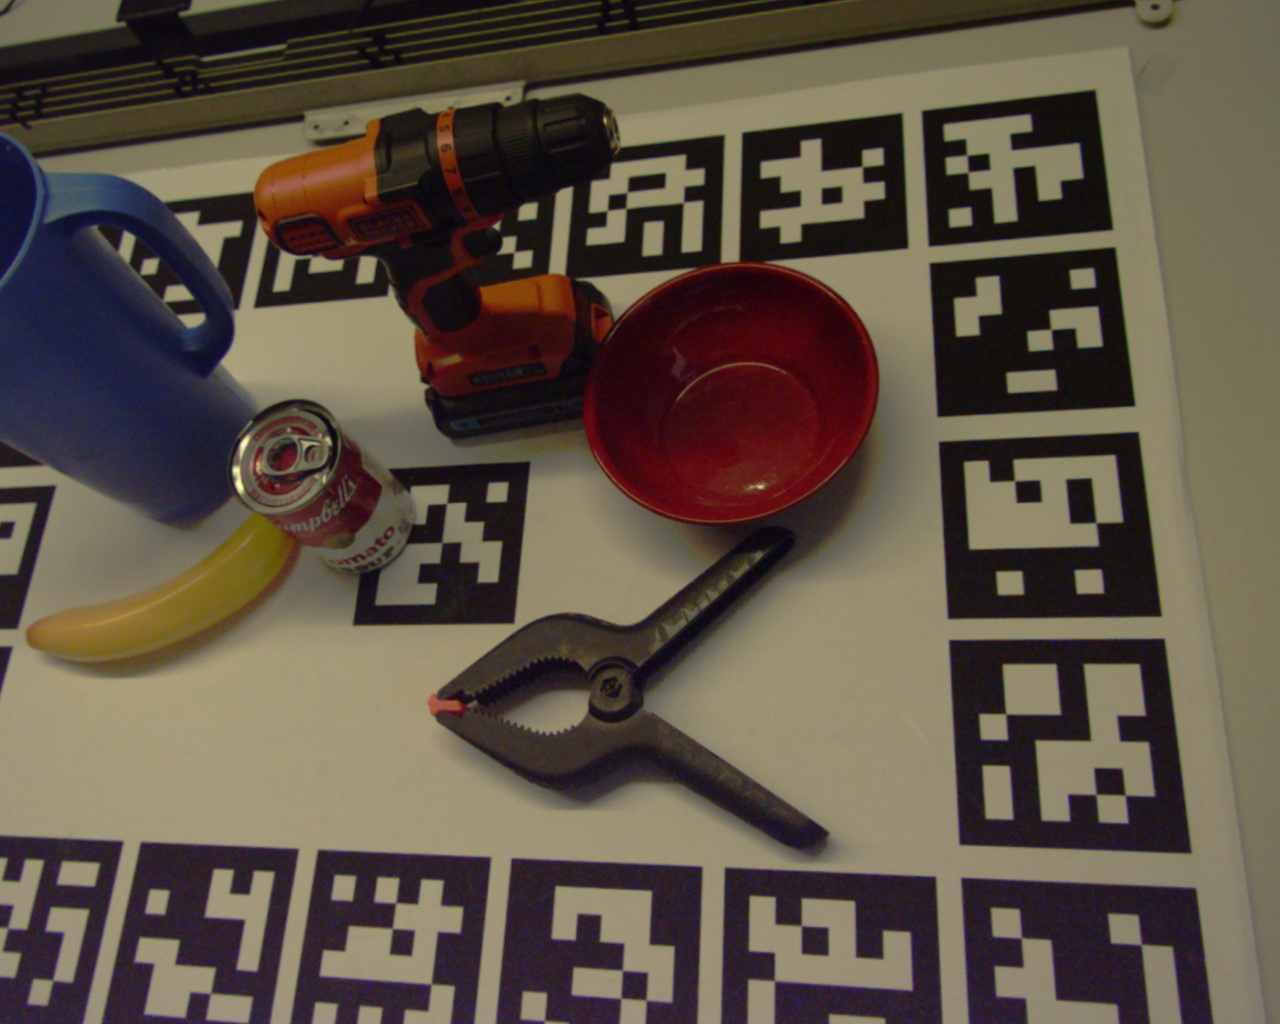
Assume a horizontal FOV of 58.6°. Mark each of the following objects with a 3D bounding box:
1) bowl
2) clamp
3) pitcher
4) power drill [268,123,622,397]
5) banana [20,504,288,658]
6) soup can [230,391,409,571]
[{"bbox_3d":[0.039,-0.057,0.661,0.163,0.055,0.162,-5,69,14],"label":"bowl"},{"bbox_3d":[-0.023,0.094,0.621,0.204,0.036,0.166,-6,72,13],"label":"clamp"},{"bbox_3d":[-0.320,-0.093,0.671,0.189,0.240,0.134,-26,62,3],"label":"pitcher"},{"bbox_3d":[-0.085,-0.136,0.634,0.185,0.185,0.057,-8,68,11],"label":"power drill"},{"bbox_3d":[-0.303,0.049,0.725,0.197,0.038,0.075,-26,56,2],"label":"banana"},{"bbox_3d":[-0.188,-0.016,0.683,0.068,0.101,0.068,-7,59,11],"label":"soup can"}]
